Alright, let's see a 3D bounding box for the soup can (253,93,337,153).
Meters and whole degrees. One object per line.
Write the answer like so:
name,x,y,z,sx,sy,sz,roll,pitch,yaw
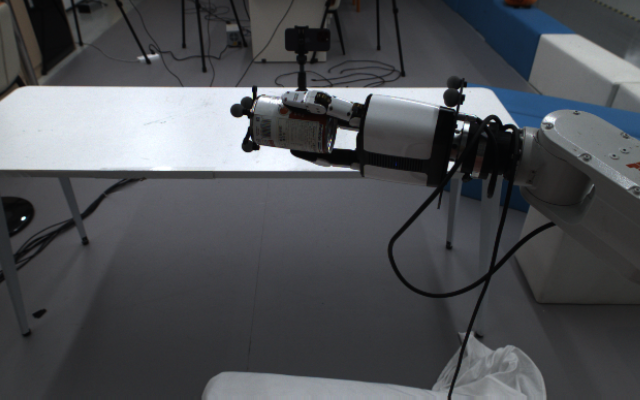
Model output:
soup can,-0.031,-0.099,0.634,0.101,0.067,0.067,8,35,10
